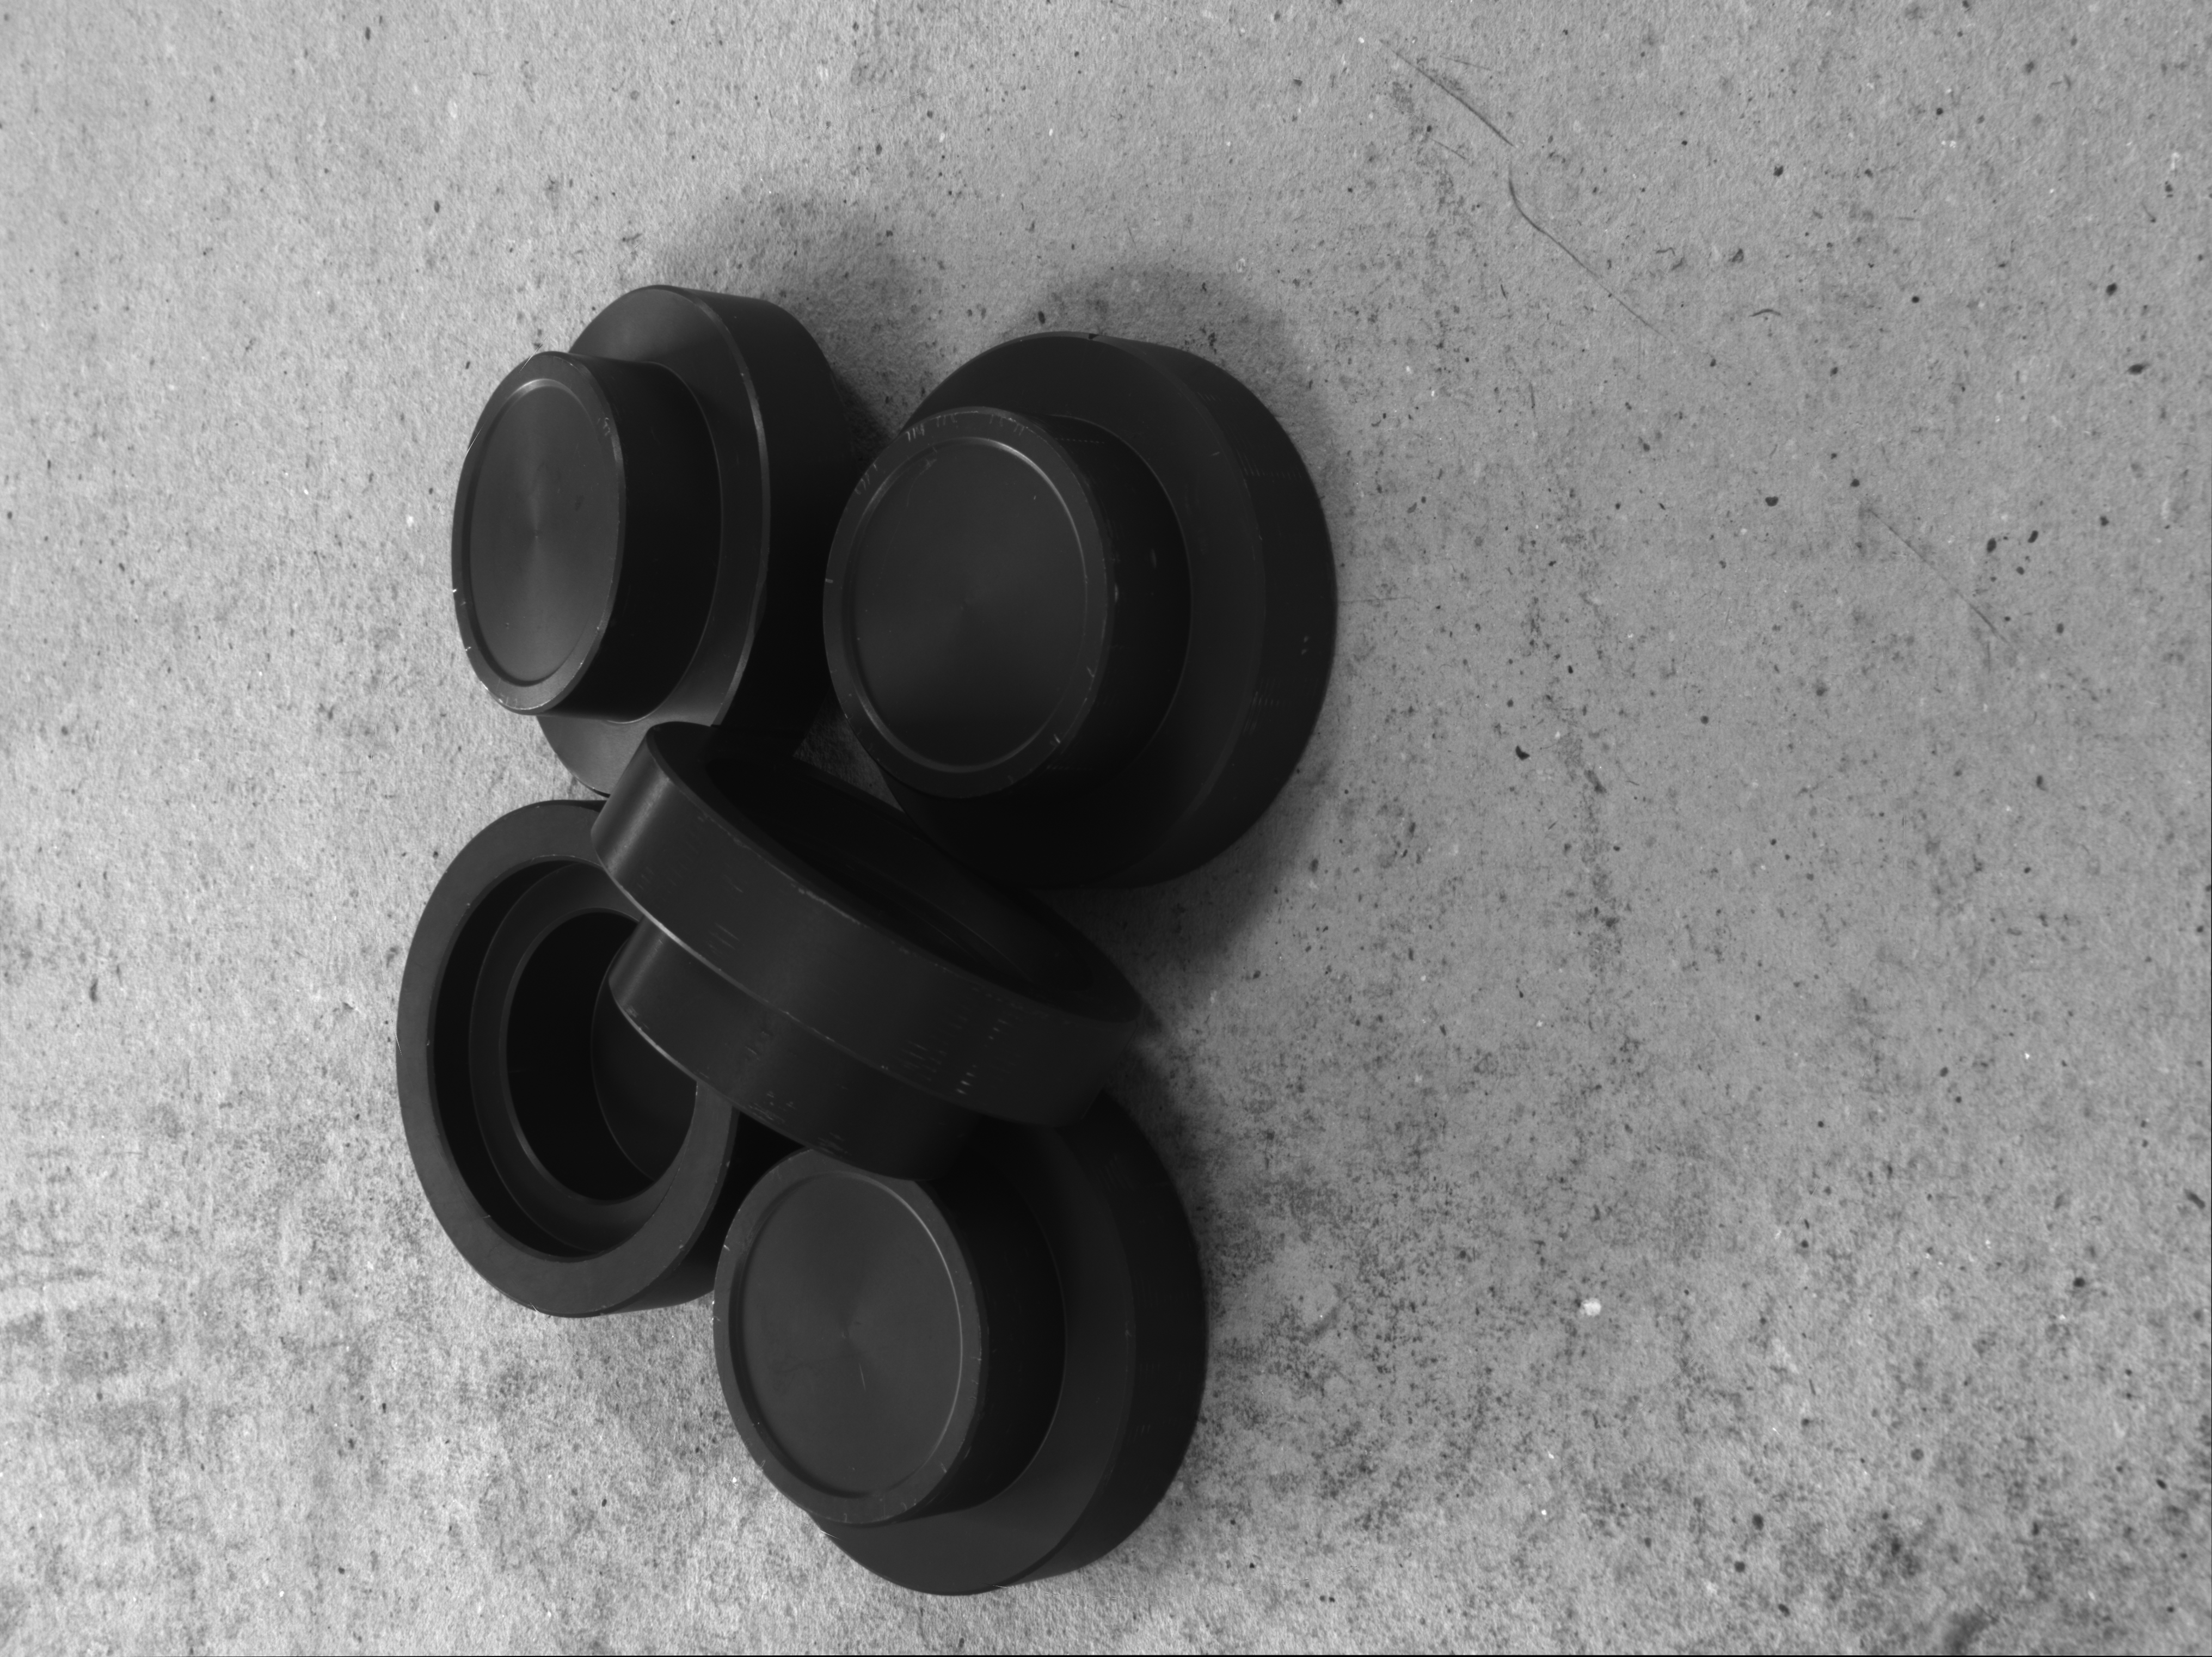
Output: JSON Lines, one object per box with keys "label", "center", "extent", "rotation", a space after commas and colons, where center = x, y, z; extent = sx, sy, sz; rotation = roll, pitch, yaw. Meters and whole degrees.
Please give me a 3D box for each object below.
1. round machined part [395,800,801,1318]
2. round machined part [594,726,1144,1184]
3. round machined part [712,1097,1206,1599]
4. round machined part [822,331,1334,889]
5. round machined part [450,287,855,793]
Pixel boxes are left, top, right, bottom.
{"label": "round machined part", "center": [-0.090, 0.043, 0.710], "extent": [0.098, 0.042, 0.098], "rotation": [1, 92, 40]}
{"label": "round machined part", "center": [-0.046, 0.025, 0.632], "extent": [0.098, 0.098, 0.042], "rotation": [36, 99, 34]}
{"label": "round machined part", "center": [-0.033, 0.090, 0.661], "extent": [0.098, 0.042, 0.098], "rotation": [-2, 87, 39]}
{"label": "round machined part", "center": [-0.011, -0.038, 0.643], "extent": [0.098, 0.042, 0.098], "rotation": [-1, 88, 40]}
{"label": "round machined part", "center": [-0.091, -0.054, 0.697], "extent": [0.098, 0.042, 0.098], "rotation": [-5, 84, 54]}
